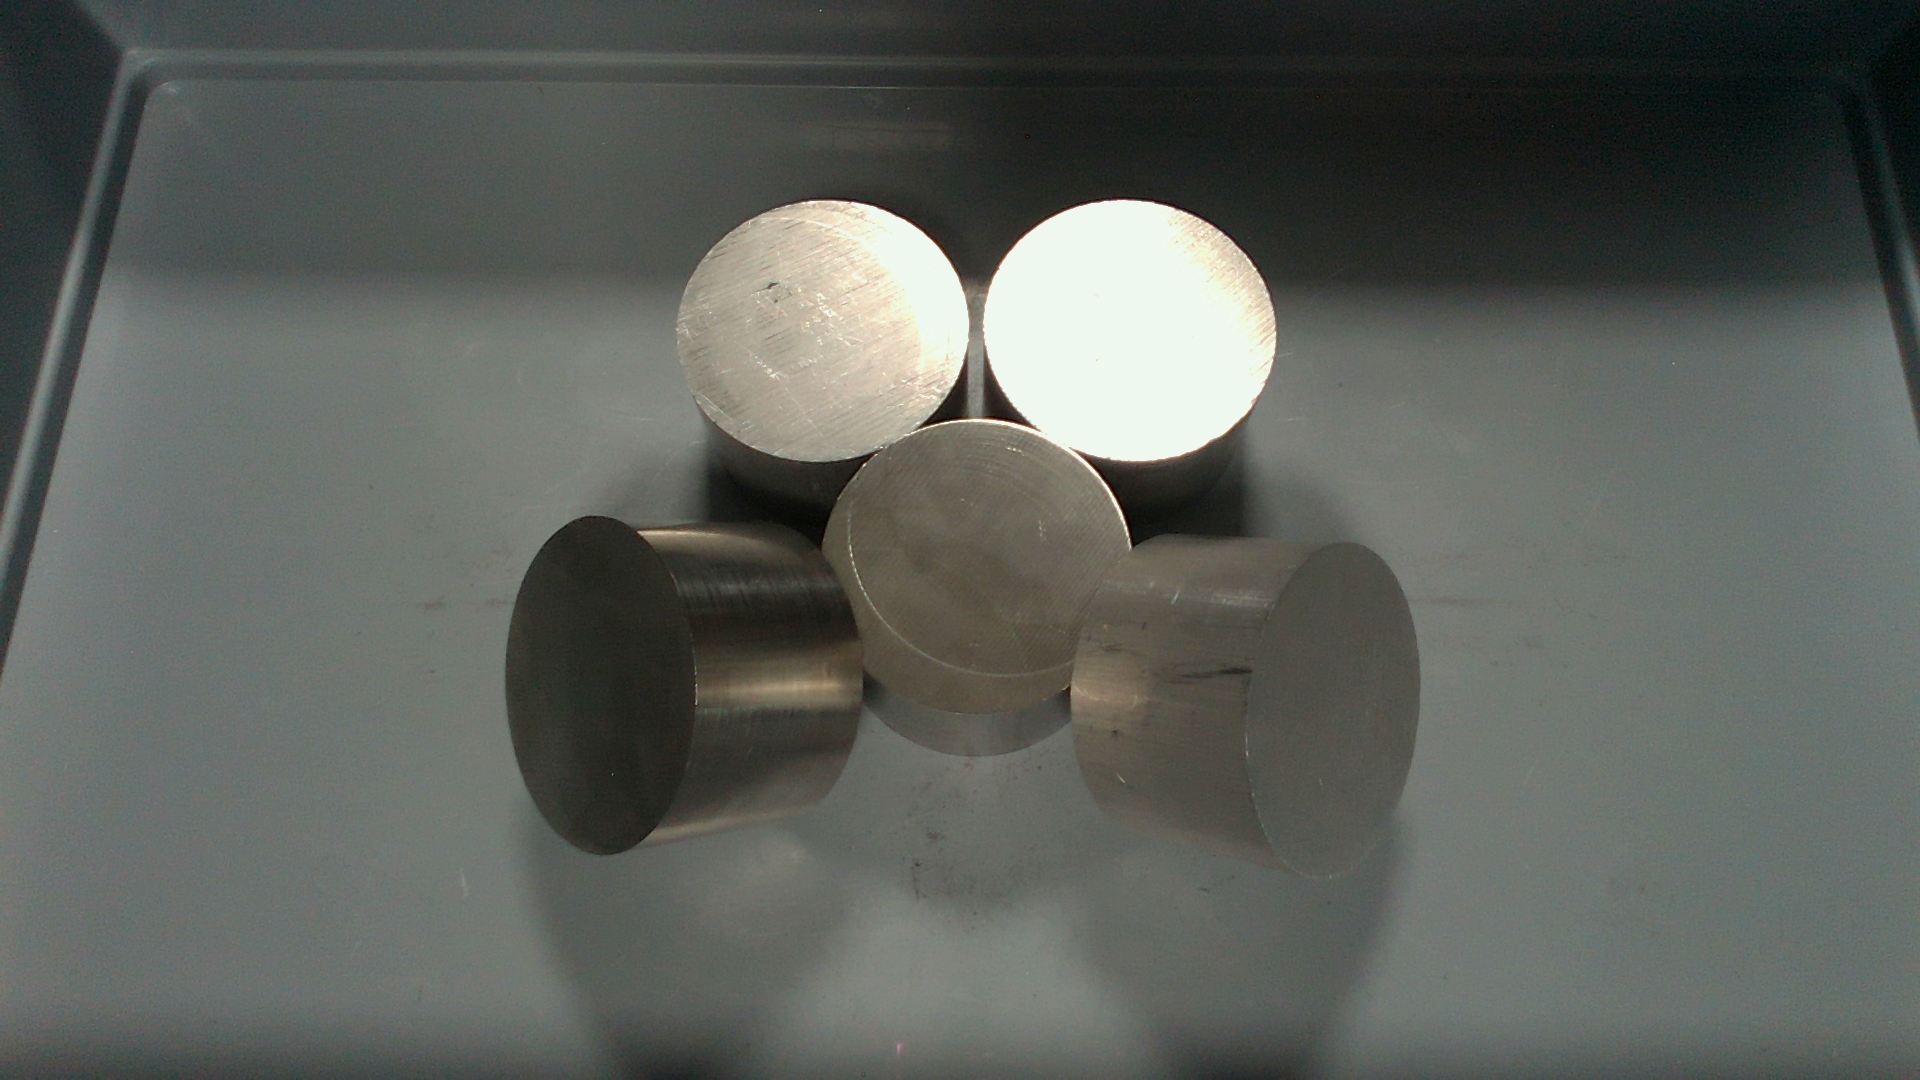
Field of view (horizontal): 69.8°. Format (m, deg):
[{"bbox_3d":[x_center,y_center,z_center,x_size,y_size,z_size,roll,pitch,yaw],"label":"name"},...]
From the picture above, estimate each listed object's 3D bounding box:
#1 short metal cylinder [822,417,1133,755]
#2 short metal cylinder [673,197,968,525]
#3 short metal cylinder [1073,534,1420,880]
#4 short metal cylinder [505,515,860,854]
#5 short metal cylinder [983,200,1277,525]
[{"bbox_3d":[0.005,0.014,0.373,0.080,0.050,0.080,0,70,0],"label":"short metal cylinder"},{"bbox_3d":[-0.038,-0.051,0.397,0.080,0.050,0.080,0,70,0],"label":"short metal cylinder"},{"bbox_3d":[0.073,0.039,0.343,0.050,0.080,0.080,3,64,44],"label":"short metal cylinder"},{"bbox_3d":[-0.071,0.034,0.345,0.050,0.080,0.080,1,61,-47],"label":"short metal cylinder"},{"bbox_3d":[0.046,-0.050,0.399,0.080,0.050,0.080,0,70,0],"label":"short metal cylinder"}]
